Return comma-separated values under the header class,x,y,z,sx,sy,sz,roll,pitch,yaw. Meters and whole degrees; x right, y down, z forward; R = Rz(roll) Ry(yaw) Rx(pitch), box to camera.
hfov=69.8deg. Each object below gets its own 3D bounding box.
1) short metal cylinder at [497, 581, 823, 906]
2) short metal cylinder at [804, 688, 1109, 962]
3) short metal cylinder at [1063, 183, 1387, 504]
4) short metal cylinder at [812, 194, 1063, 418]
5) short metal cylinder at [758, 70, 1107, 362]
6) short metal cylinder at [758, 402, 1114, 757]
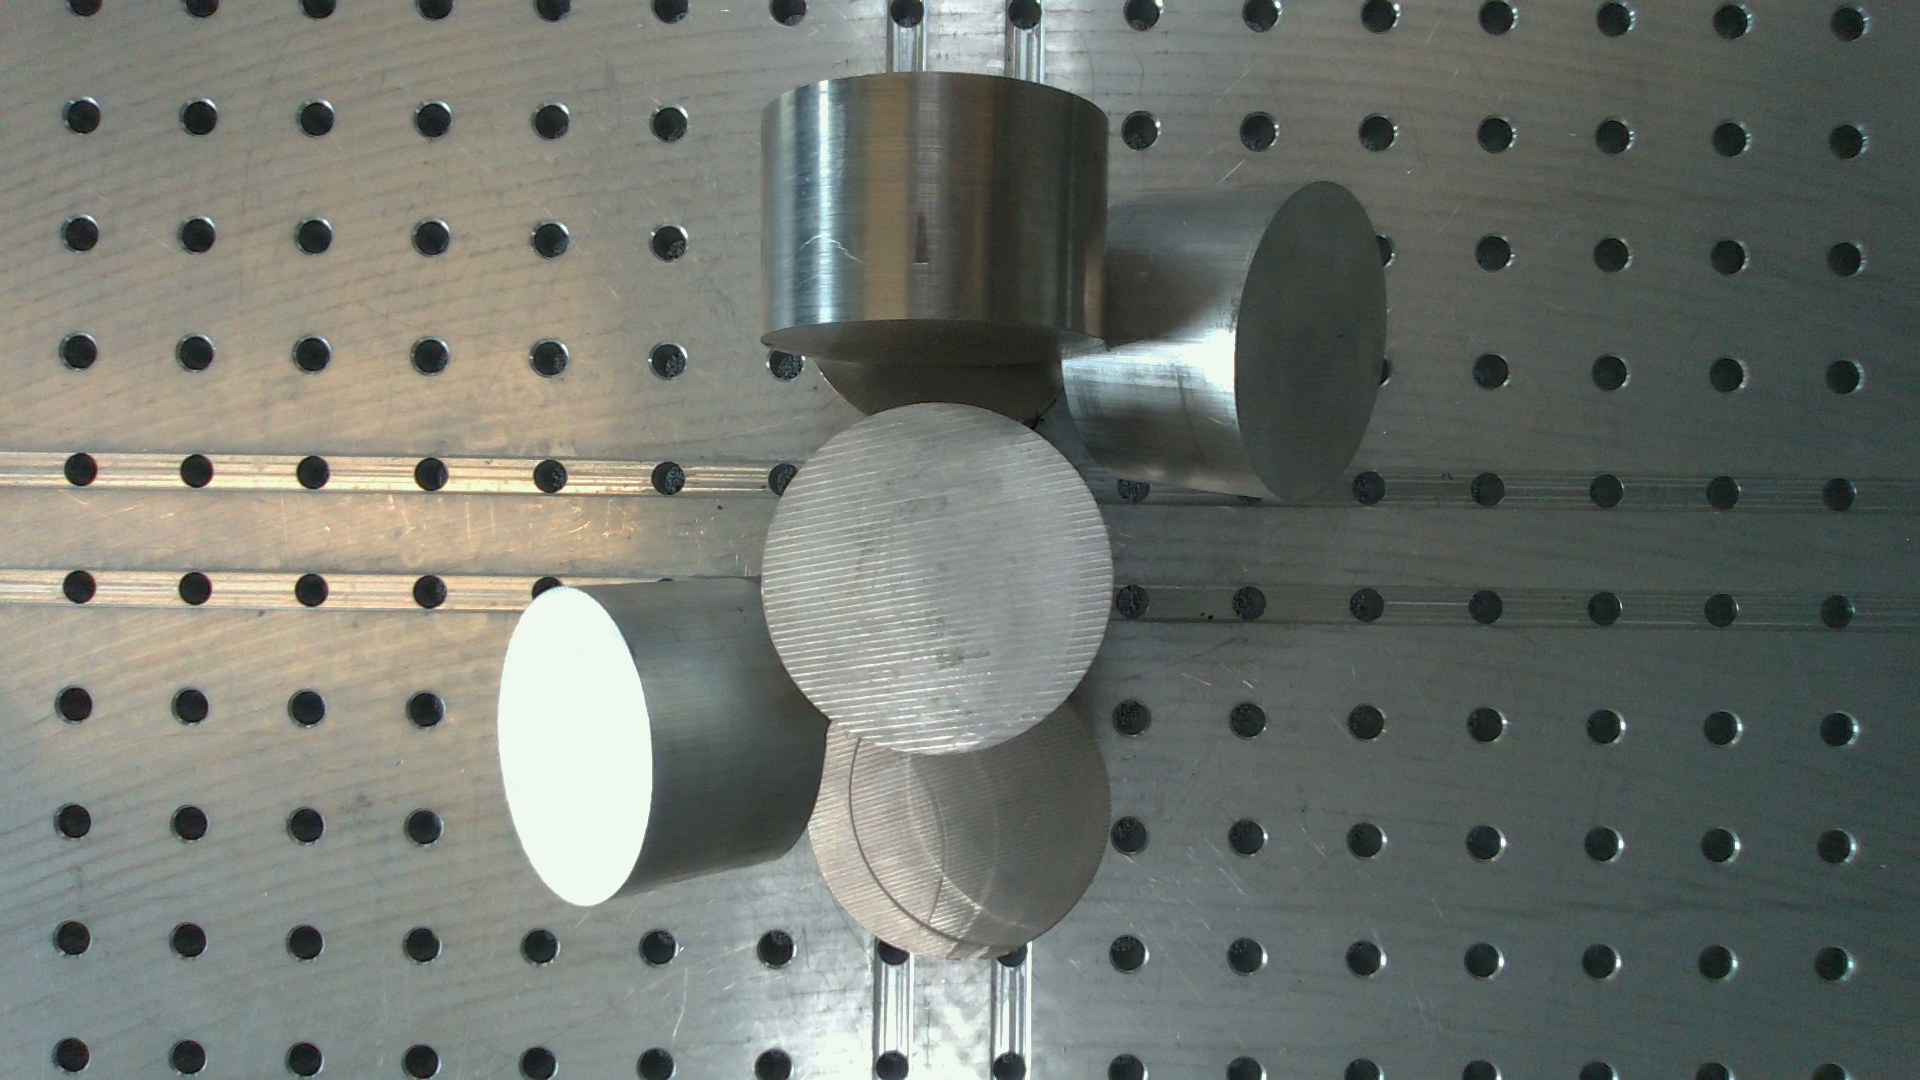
class,x,y,z,sx,sy,sz,roll,pitch,yaw
short metal cylinder,-0.081,0.051,0.365,0.050,0.080,0.080,-2,90,-44
short metal cylinder,-0.001,0.070,0.385,0.080,0.050,0.080,0,91,0
short metal cylinder,0.071,-0.052,0.364,0.050,0.080,0.080,11,90,40
short metal cylinder,-0.004,-0.067,0.385,0.080,0.050,0.080,0,91,0
short metal cylinder,-0.006,-0.070,0.319,0.080,0.080,0.050,0,90,0
short metal cylinder,-0.005,0.009,0.334,0.080,0.050,0.080,0,90,0
